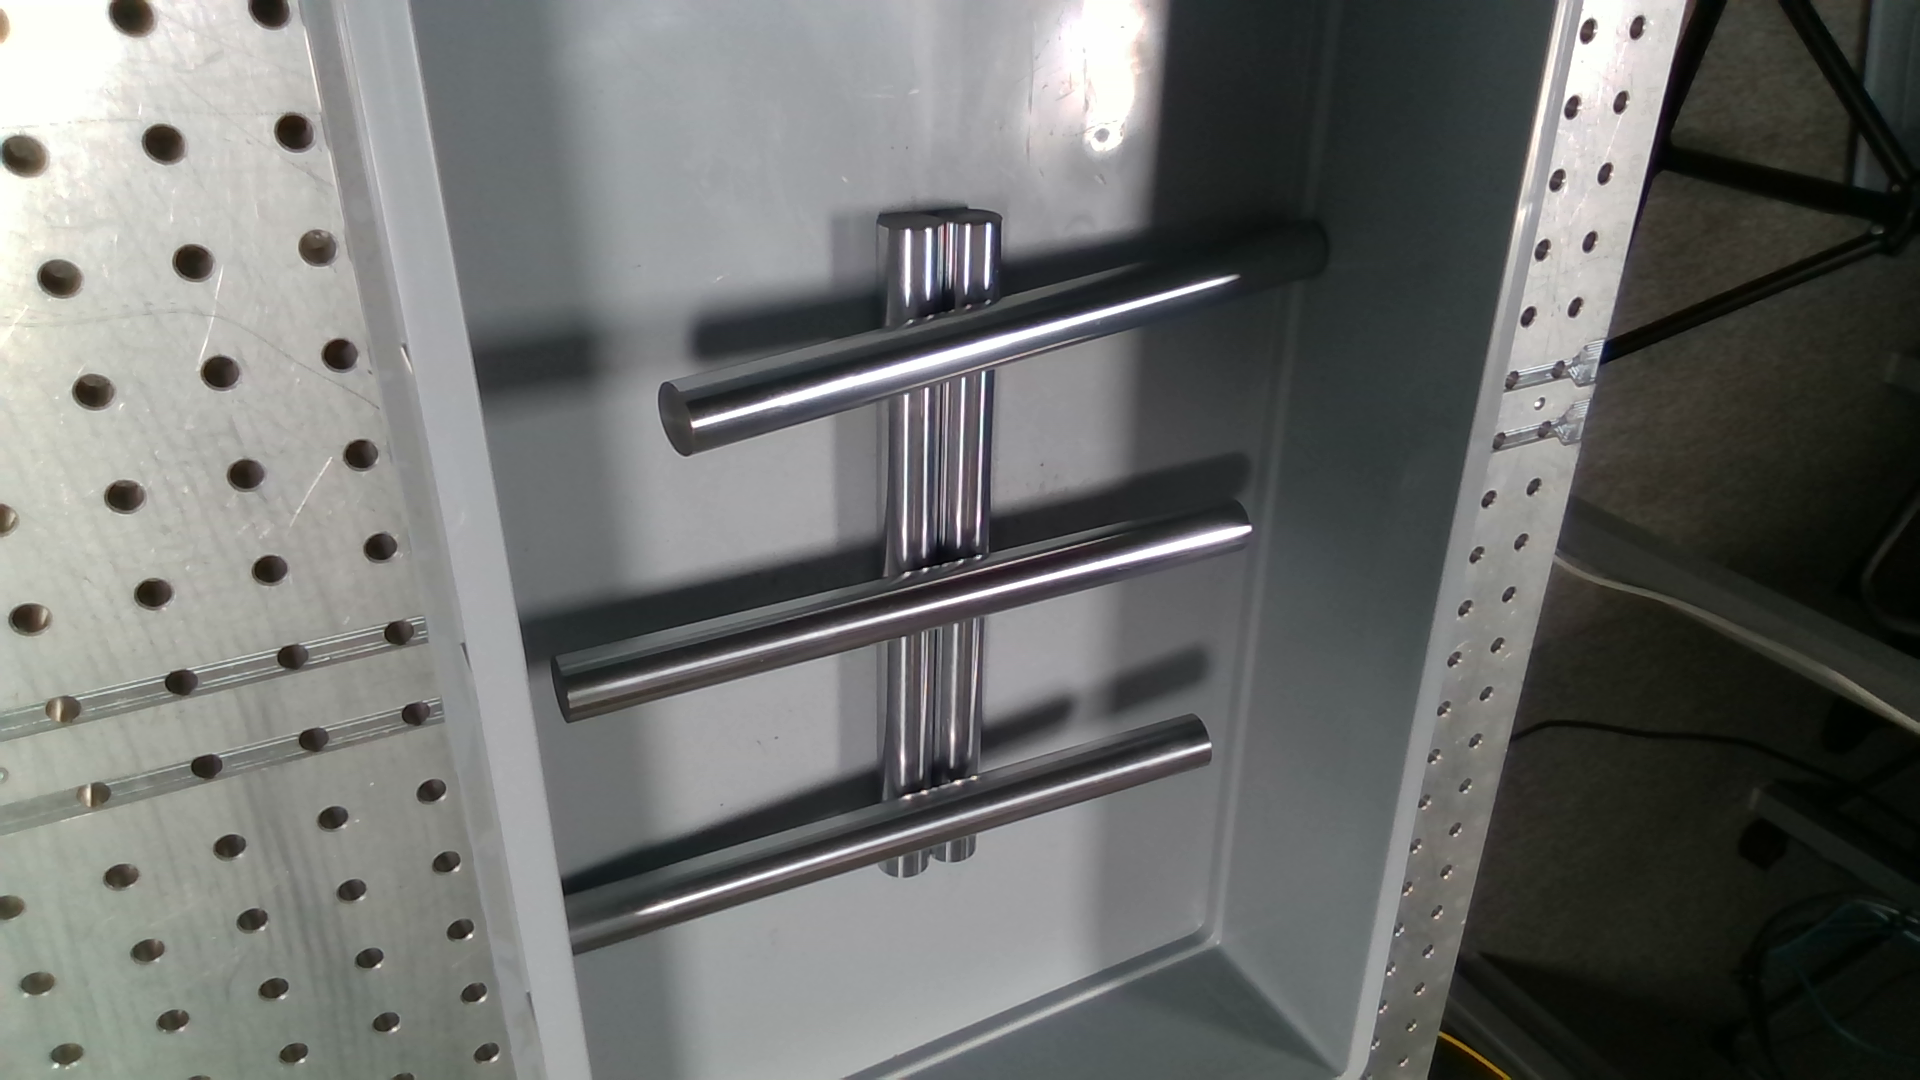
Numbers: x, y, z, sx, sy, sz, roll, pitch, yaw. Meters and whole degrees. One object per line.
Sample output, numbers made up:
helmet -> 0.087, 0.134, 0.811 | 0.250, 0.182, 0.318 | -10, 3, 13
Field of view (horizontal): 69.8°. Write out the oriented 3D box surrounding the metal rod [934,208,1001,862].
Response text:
metal rod -> -0.001, 0.012, 0.586 | 0.025, 0.025, 0.301 | -13, 121, -26

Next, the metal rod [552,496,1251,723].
metal rod -> -0.010, 0.023, 0.554 | 0.300, 0.025, 0.025 | -13, 121, -25

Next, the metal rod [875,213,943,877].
metal rod -> -0.023, 0.016, 0.575 | 0.025, 0.025, 0.301 | -13, 121, -26

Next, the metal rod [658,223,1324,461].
metal rod -> 0.028, -0.082, 0.522 | 0.300, 0.025, 0.025 | -20, 124, -31

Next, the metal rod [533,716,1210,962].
metal rod -> -0.030, 0.126, 0.600 | 0.300, 0.025, 0.025 | -13, 121, -16
